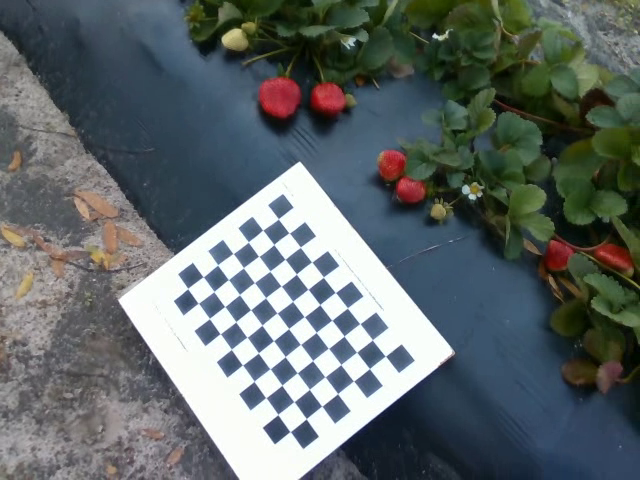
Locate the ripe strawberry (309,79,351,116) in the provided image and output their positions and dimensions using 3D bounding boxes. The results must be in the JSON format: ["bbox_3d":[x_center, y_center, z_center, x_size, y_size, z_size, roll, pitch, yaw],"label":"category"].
[{"bbox_3d":[0.011,-0.184,0.807,0.050,0.051,0.060,-17,28,11],"label":"ripe strawberry"}]

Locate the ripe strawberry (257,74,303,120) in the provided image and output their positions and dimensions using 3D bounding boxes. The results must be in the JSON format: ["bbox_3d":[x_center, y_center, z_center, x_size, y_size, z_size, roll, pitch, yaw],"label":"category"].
[{"bbox_3d":[-0.053,-0.180,0.790,0.058,0.065,0.044,-11,-30,12],"label":"ripe strawberry"}]

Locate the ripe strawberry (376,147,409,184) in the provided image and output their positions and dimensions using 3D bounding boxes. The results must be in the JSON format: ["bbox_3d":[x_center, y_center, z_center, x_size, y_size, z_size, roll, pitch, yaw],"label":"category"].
[{"bbox_3d":[0.092,-0.095,0.776,0.053,0.047,0.038,30,0,-19],"label":"ripe strawberry"}]

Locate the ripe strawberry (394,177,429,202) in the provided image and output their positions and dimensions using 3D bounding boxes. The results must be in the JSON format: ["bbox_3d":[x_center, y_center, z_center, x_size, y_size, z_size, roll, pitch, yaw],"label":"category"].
[{"bbox_3d":[0.113,-0.063,0.754,0.041,0.044,0.049,-51,-17,26],"label":"ripe strawberry"}]
